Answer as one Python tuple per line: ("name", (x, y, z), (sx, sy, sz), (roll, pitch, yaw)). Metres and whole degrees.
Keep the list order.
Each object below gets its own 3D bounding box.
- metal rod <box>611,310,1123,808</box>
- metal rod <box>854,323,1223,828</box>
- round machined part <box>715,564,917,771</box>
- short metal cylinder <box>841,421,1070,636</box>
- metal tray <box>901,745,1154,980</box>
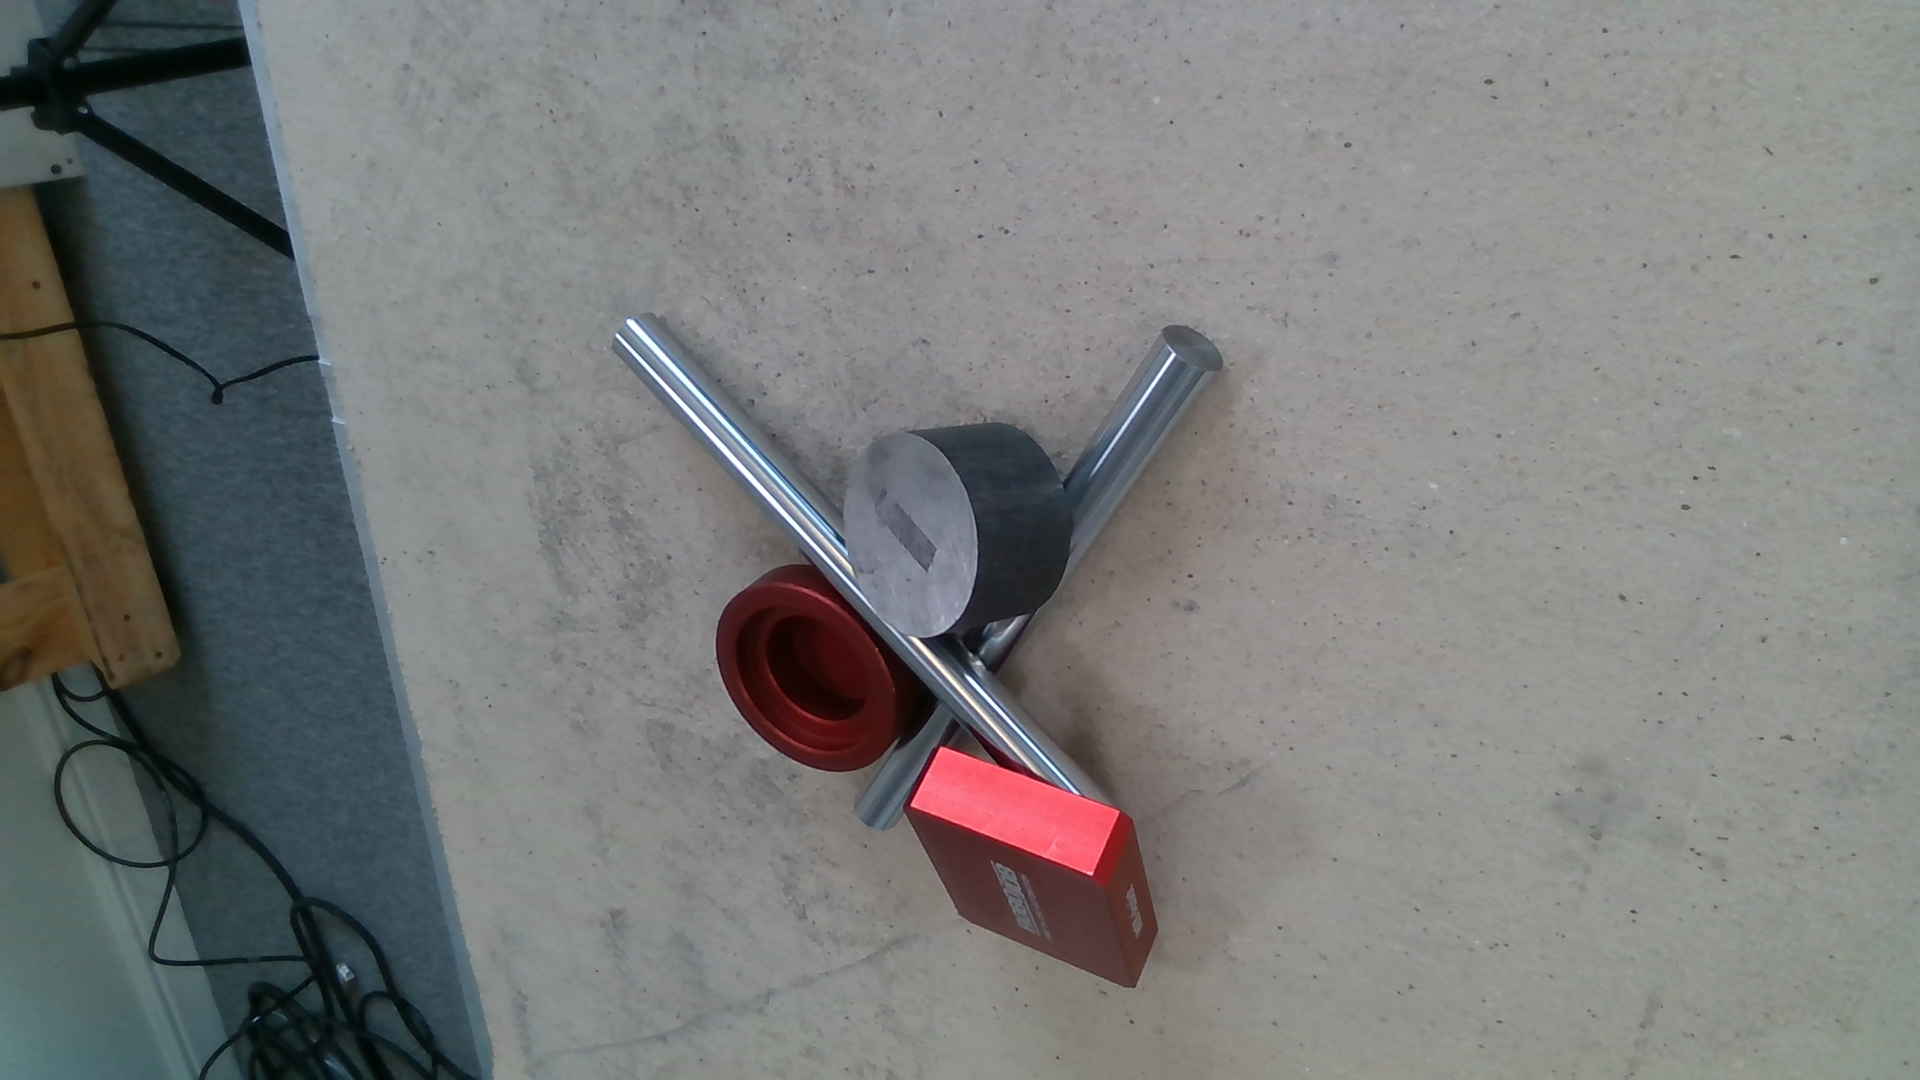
("metal rod", (-0.044, 0.012, 0.592), (0.300, 0.025, 0.025), (46, 130, 10))
("metal rod", (0.021, 0.031, 0.586), (0.025, 0.025, 0.301), (38, 129, 8))
("round machined part", (-0.062, 0.054, 0.637), (0.098, 0.042, 0.098), (14, 122, 25))
("short metal cylinder", (-0.003, -0.006, 0.546), (0.080, 0.050, 0.080), (12, 107, 46))
("metal tray", (0.034, 0.144, 0.599), (0.090, 0.030, 0.130), (16, 150, 24))
